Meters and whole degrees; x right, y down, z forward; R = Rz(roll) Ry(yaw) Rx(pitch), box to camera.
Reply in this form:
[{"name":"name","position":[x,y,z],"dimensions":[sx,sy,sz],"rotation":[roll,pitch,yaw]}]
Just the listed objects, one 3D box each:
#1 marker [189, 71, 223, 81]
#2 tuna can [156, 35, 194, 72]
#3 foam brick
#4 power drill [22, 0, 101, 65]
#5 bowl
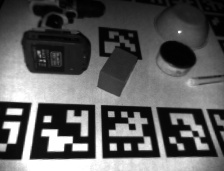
[{"name":"marker","position":[0.234,-0.024,0.497],"dimensions":[0.122,0.019,0.019],"rotation":[-6,60,-17]},{"name":"tuna can","position":[0.147,-0.074,0.503],"dimensions":[0.086,0.034,0.085],"rotation":[8,55,-10]},{"name":"foam brick","position":[0.009,-0.031,0.440],"dimensions":[0.051,0.053,0.078],"rotation":[23,56,3]},{"name":"power drill","position":[-0.110,-0.132,0.475],"dimensions":[0.186,0.057,0.186],"rotation":[4,54,-14]},{"name":"bowl","position":[0.190,-0.180,0.583],"dimensions":[0.162,0.055,0.161],"rotation":[5,49,-5]}]
